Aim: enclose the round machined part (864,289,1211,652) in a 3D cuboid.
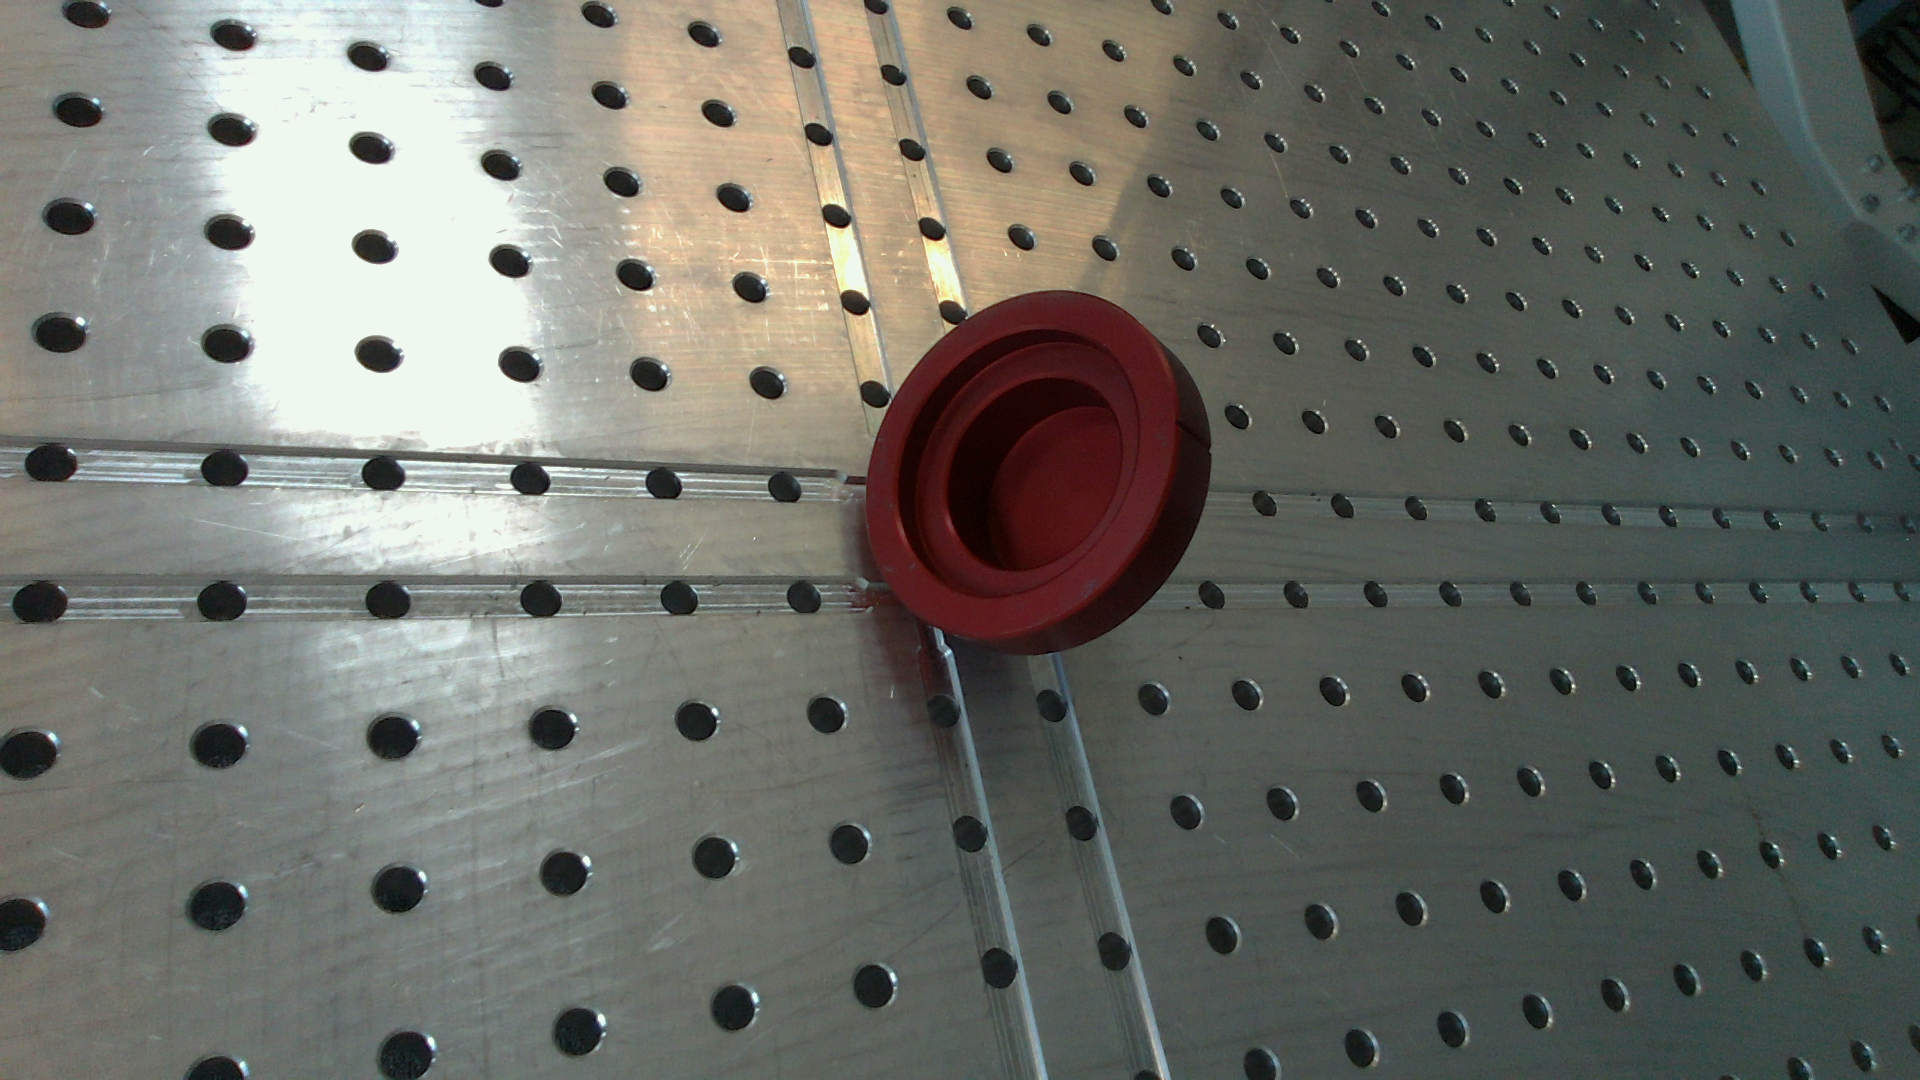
[{"bbox_3d":[0.024,-0.016,0.381,0.042,0.098,0.098,28,44,-51],"label":"round machined part"}]
